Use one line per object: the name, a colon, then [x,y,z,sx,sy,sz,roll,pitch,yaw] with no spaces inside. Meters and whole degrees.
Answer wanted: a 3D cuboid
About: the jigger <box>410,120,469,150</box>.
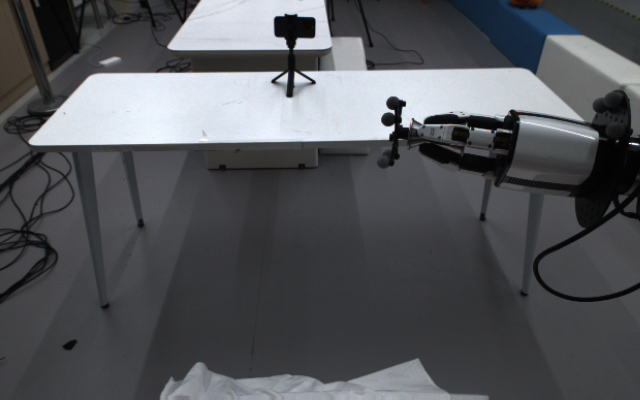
jigger: [0.152,-0.082,0.605,0.071,0.043,0.043,8,35,15]
